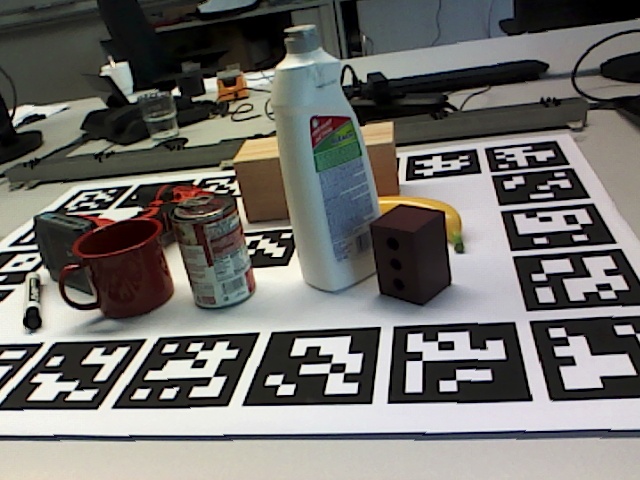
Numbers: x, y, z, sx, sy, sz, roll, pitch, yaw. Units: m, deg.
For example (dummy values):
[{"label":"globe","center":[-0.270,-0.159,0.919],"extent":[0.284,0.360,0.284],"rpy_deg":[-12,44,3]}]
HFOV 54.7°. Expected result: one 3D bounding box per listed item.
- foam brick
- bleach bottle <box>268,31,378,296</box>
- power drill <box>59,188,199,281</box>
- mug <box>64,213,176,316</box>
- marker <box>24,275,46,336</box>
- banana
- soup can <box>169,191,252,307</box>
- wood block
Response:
[{"label":"foam brick","center":[0.089,0.018,0.588],"extent":[0.053,0.078,0.051],"rpy_deg":[12,31,43]},{"label":"bleach bottle","center":[0.005,-0.075,0.609],"extent":[0.068,0.250,0.102],"rpy_deg":[10,31,39]},{"label":"power drill","center":[-0.236,-0.014,0.810],"extent":[0.186,0.057,0.186],"rpy_deg":[14,34,36]},{"label":"mug","center":[-0.215,0.033,0.663],"extent":[0.117,0.081,0.094],"rpy_deg":[-29,33,-28]},{"label":"marker","center":[-0.322,0.073,0.701],"extent":[0.019,0.019,0.122],"rpy_deg":[-20,28,-14]},{"label":"banana","center":[0.071,-0.033,0.735],"extent":[0.198,0.038,0.074],"rpy_deg":[5,43,25]},{"label":"soup can","center":[-0.111,0.009,0.637],"extent":[0.068,0.102,0.068],"rpy_deg":[-7,22,2]},{"label":"wood block","center":[0.002,-0.086,0.822],"extent":[0.207,0.090,0.090],"rpy_deg":[-5,27,12]}]
